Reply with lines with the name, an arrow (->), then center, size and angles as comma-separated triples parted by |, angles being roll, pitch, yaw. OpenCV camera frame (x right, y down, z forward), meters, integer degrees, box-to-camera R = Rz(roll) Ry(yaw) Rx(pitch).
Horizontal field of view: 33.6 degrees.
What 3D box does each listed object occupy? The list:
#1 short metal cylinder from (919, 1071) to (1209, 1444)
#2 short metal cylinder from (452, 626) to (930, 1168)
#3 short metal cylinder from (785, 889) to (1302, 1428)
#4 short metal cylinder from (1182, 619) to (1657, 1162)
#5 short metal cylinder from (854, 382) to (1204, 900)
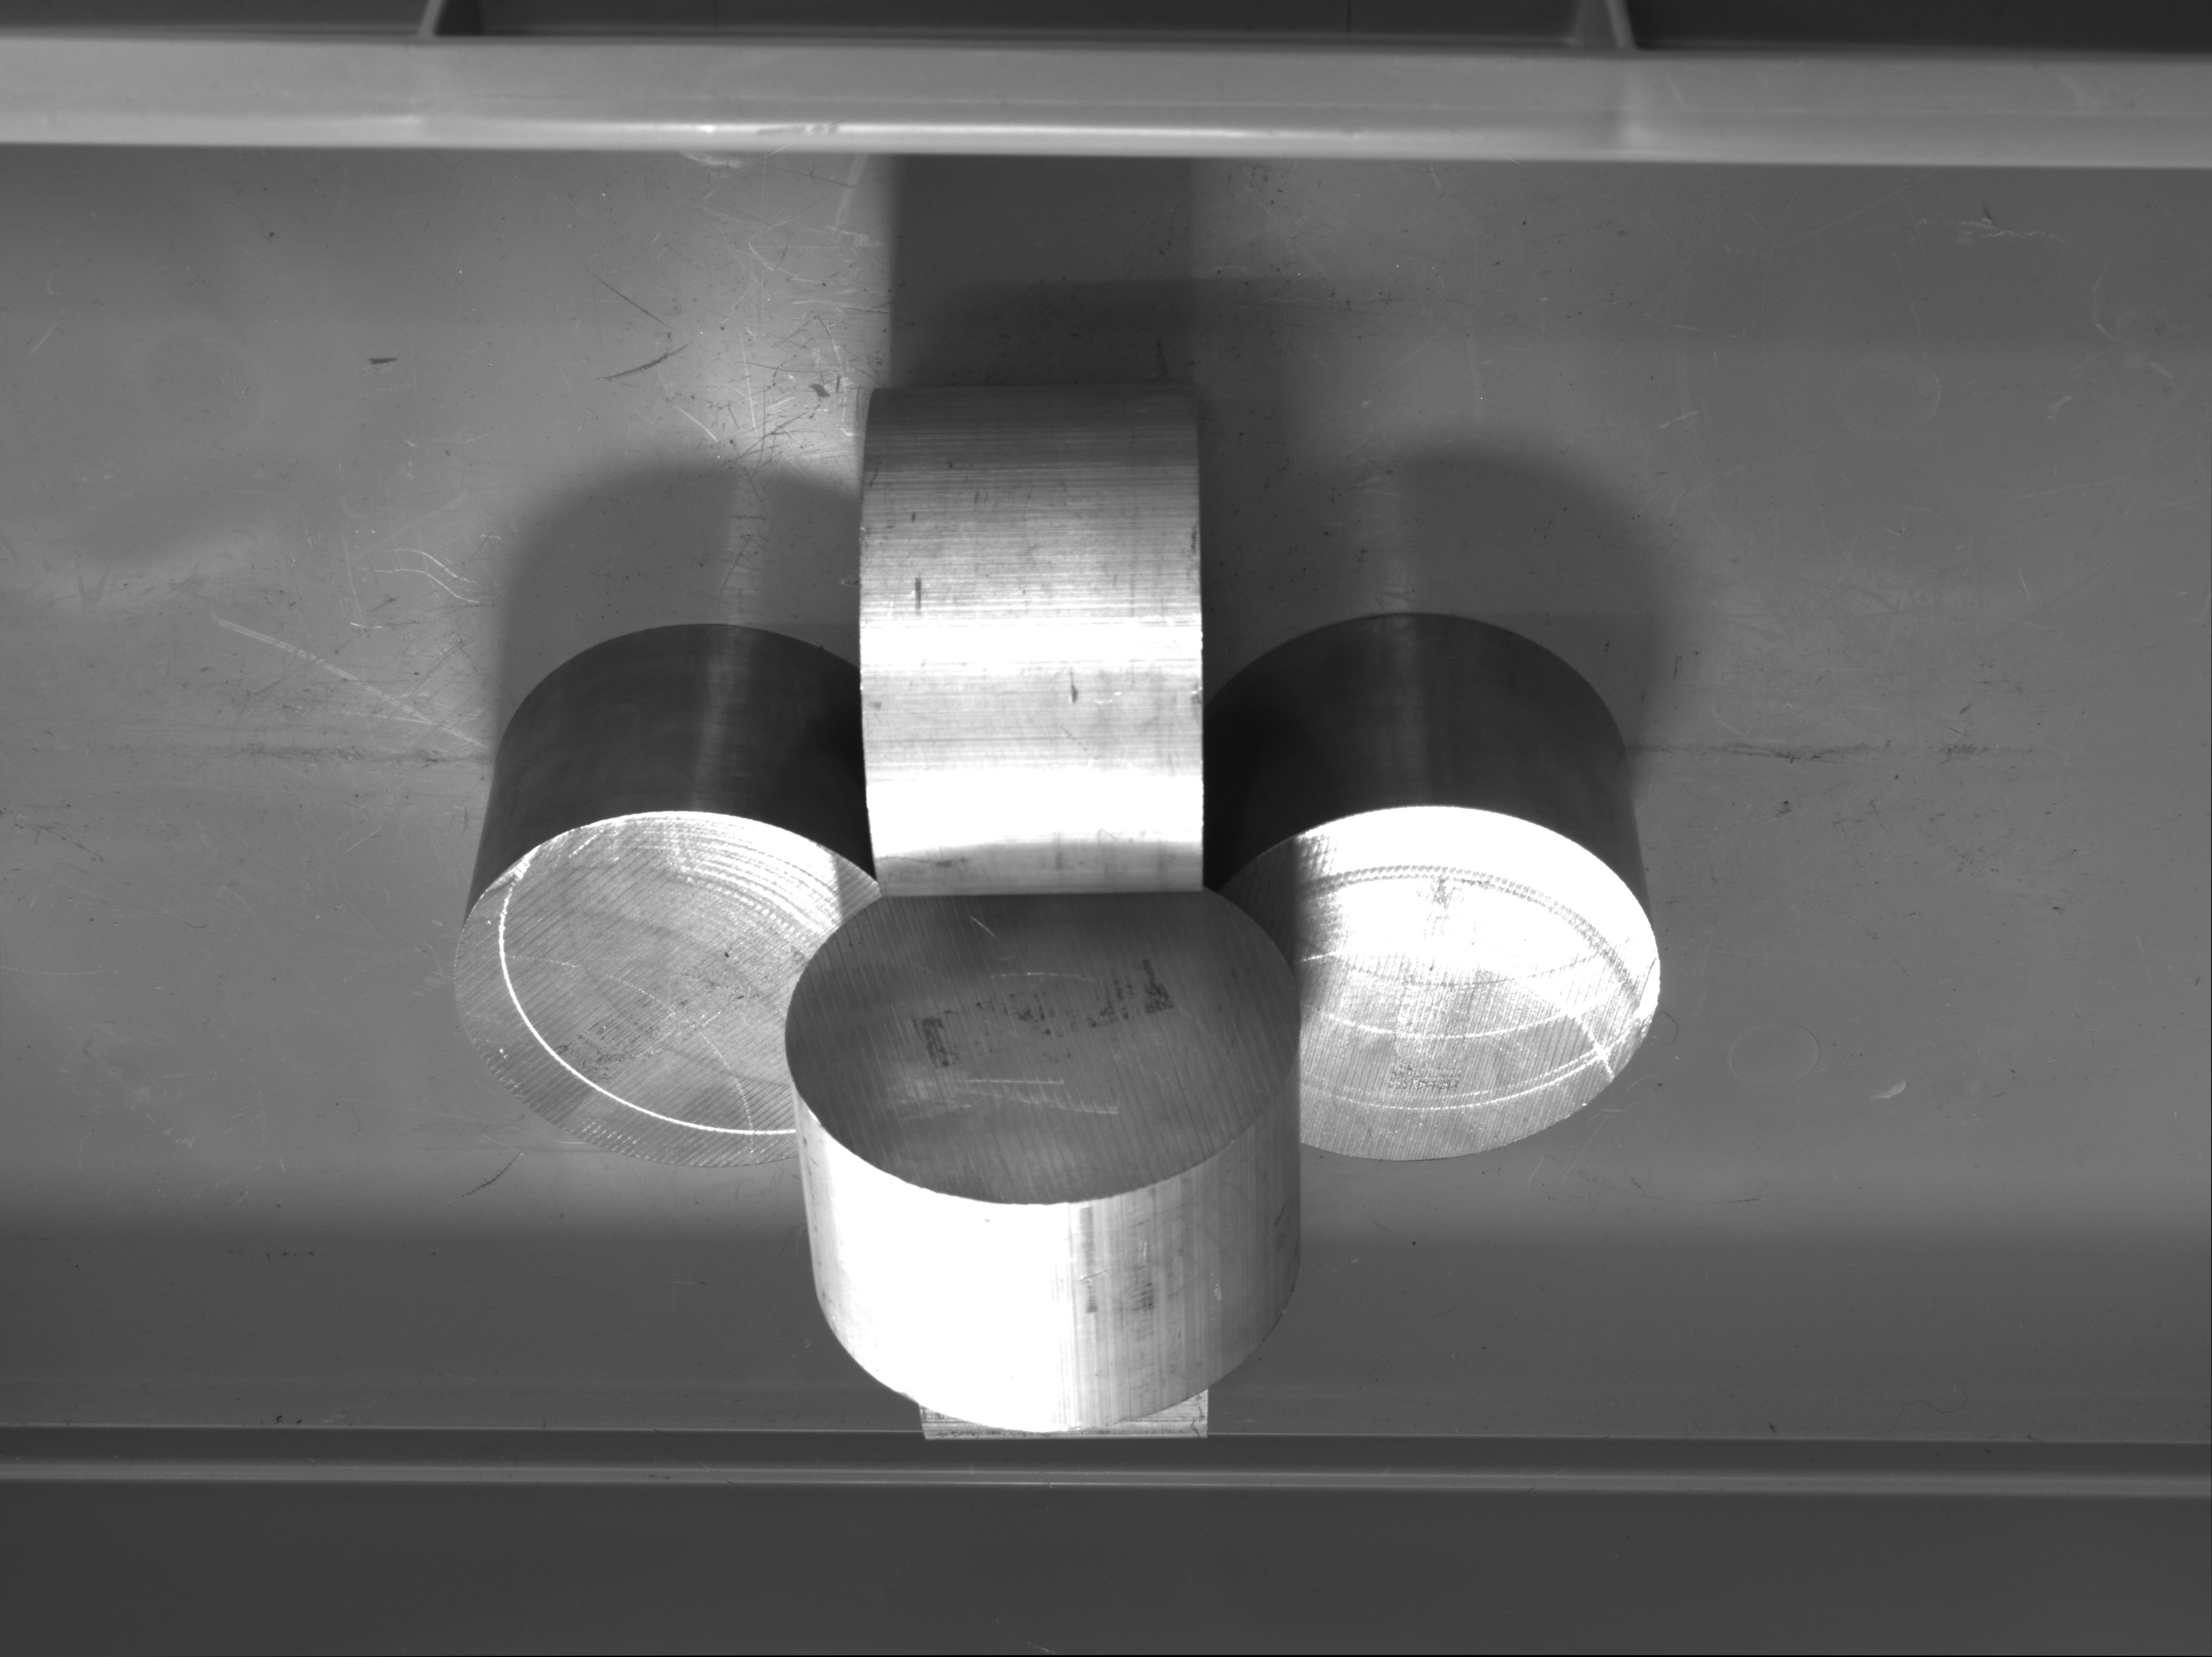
short metal cylinder -> -0.008, 0.070, 0.660 | 0.050, 0.080, 0.080 | -2, 130, 1
short metal cylinder -> -0.069, 0.012, 0.631 | 0.080, 0.050, 0.080 | 0, 130, 0
short metal cylinder -> -0.009, 0.048, 0.584 | 0.080, 0.080, 0.050 | -1, 130, 1
short metal cylinder -> 0.052, 0.011, 0.630 | 0.080, 0.050, 0.080 | 0, 130, 0
short metal cylinder -> -0.011, -0.029, 0.577 | 0.050, 0.080, 0.080 | -2, 130, 1
